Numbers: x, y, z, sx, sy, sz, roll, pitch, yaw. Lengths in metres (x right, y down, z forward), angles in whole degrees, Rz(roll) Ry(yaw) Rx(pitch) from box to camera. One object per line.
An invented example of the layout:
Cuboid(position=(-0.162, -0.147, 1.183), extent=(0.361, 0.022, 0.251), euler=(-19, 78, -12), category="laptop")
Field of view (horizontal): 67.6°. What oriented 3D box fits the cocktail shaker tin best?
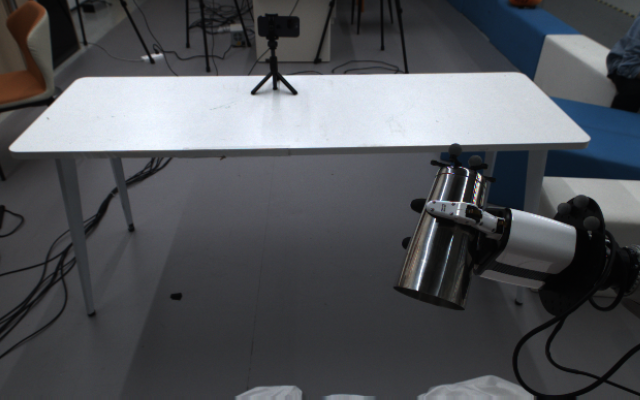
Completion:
Cuboid(position=(0.164, 0.046, 0.628), extent=(0.093, 0.093, 0.170), euler=(15, 75, 17), category="cocktail shaker tin")
